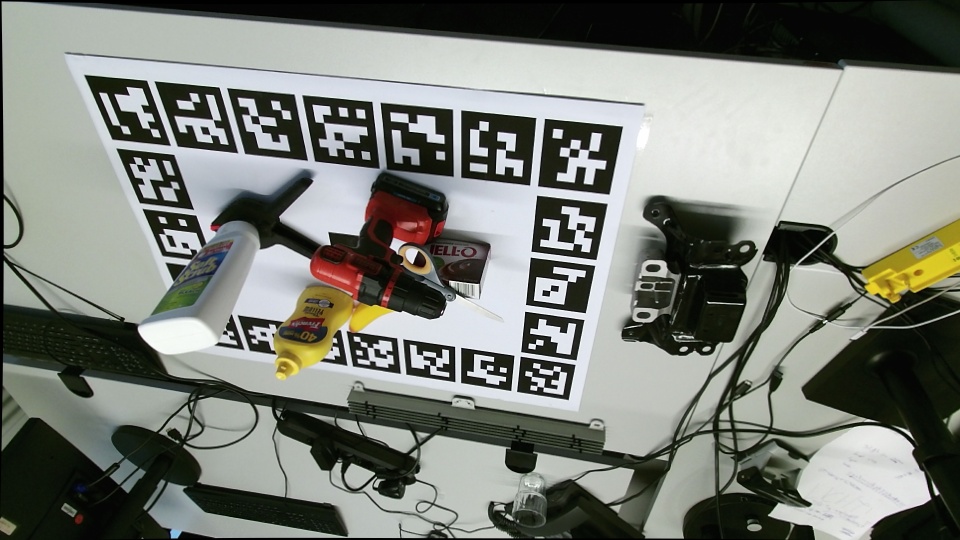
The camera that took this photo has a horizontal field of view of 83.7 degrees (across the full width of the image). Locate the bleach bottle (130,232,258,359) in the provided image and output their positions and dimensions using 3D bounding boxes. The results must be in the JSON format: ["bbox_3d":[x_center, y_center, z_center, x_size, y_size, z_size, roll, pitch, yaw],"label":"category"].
[{"bbox_3d":[-0.407,0.018,0.808,0.103,0.249,0.068,-13,126,12],"label":"bleach bottle"}]

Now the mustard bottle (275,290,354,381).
[{"bbox_3d":[-0.295,0.115,0.915,0.096,0.191,0.058,19,128,0],"label":"mustard bottle"}]

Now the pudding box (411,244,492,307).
[{"bbox_3d":[-0.045,0.008,0.838,0.114,0.089,0.039,10,134,5],"label":"pudding box"}]

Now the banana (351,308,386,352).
[{"bbox_3d":[-0.177,0.101,0.962,0.198,0.038,0.074,-29,132,28],"label":"banana"}]

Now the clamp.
[{"bbox_3d":[-0.354,-0.051,0.876,0.203,0.036,0.165,2,124,12],"label":"clamp"}]

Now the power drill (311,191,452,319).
[{"bbox_3d":[-0.115,-0.022,0.734,0.185,0.186,0.057,16,135,-3],"label":"power drill"}]

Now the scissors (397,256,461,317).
[{"bbox_3d":[-0.048,0.052,0.791,0.203,0.016,0.088,29,123,-4],"label":"scissors"}]
